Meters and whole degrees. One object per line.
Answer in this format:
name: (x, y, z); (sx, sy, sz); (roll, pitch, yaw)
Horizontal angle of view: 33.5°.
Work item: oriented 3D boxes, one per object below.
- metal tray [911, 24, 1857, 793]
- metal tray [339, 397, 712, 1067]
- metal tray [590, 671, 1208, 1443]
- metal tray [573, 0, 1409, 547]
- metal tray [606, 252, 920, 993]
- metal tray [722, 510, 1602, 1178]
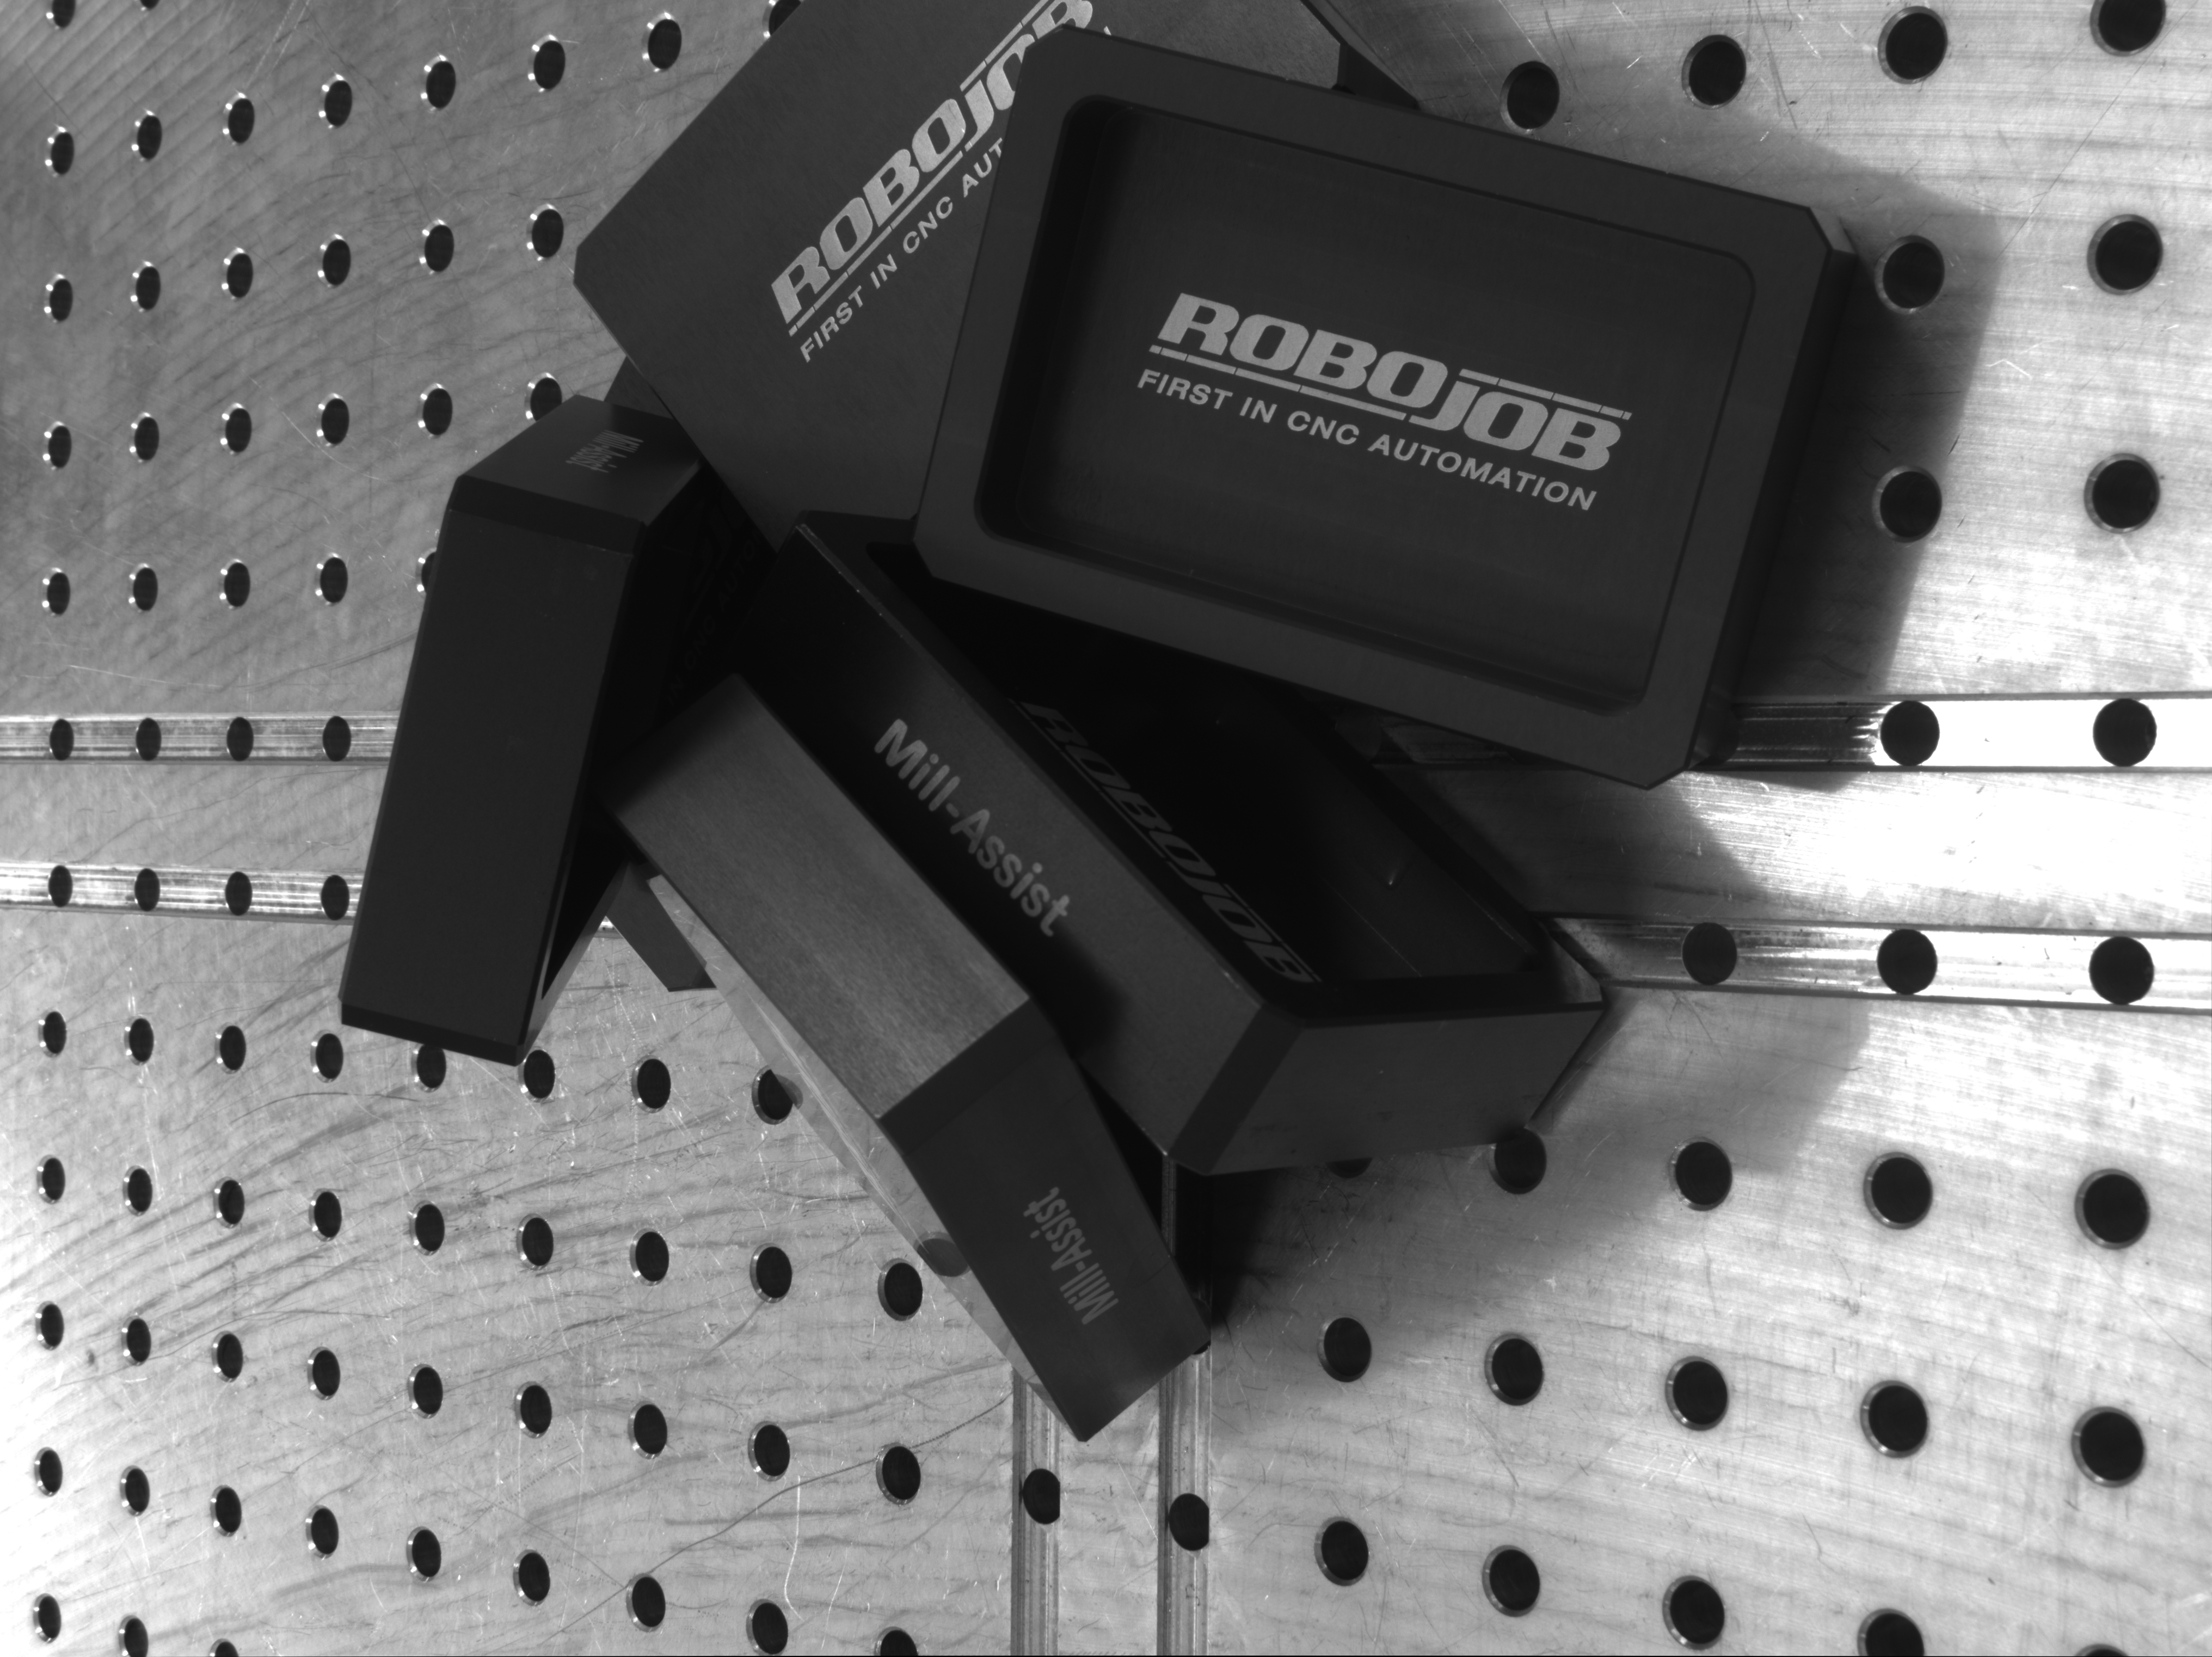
metal tray: (0.042, -0.067, 0.578); (0.130, 0.030, 0.090); (17, 102, 16)
metal tray: (-0.096, -0.021, 0.631); (0.030, 0.130, 0.090); (14, 102, -3)
metal tray: (-0.032, 0.041, 0.613); (0.030, 0.130, 0.090); (-38, 59, -9)
metal tray: (-0.022, -0.111, 0.640); (0.130, 0.030, 0.090); (-44, 66, 15)
metal tray: (-0.067, -0.045, 0.702); (0.090, 0.030, 0.130); (46, 118, 30)
metal tray: (0.008, 0.000, 0.598); (0.130, 0.090, 0.030); (46, 117, 30)
